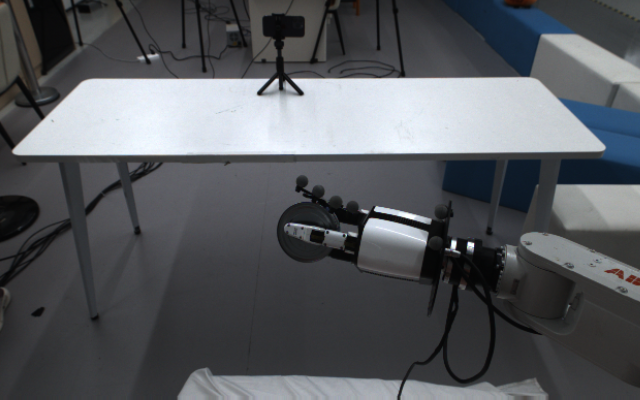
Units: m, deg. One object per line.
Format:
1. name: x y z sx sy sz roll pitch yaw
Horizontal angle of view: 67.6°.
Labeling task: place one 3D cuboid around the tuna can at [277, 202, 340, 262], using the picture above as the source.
1. tuna can: -0.013 0.044 0.683 0.085 0.085 0.034 10 4 11
